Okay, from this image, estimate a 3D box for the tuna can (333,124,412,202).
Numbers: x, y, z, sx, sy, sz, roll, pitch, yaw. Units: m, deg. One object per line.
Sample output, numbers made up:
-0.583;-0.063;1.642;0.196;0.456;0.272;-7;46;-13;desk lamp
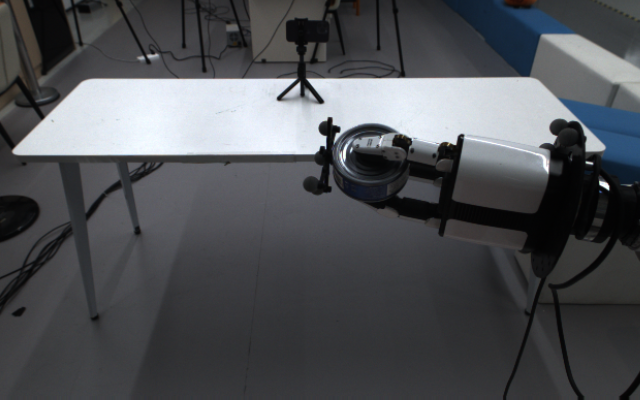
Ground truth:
0.060;-0.039;0.529;0.085;0.034;0.085;-2;57;3;tuna can
